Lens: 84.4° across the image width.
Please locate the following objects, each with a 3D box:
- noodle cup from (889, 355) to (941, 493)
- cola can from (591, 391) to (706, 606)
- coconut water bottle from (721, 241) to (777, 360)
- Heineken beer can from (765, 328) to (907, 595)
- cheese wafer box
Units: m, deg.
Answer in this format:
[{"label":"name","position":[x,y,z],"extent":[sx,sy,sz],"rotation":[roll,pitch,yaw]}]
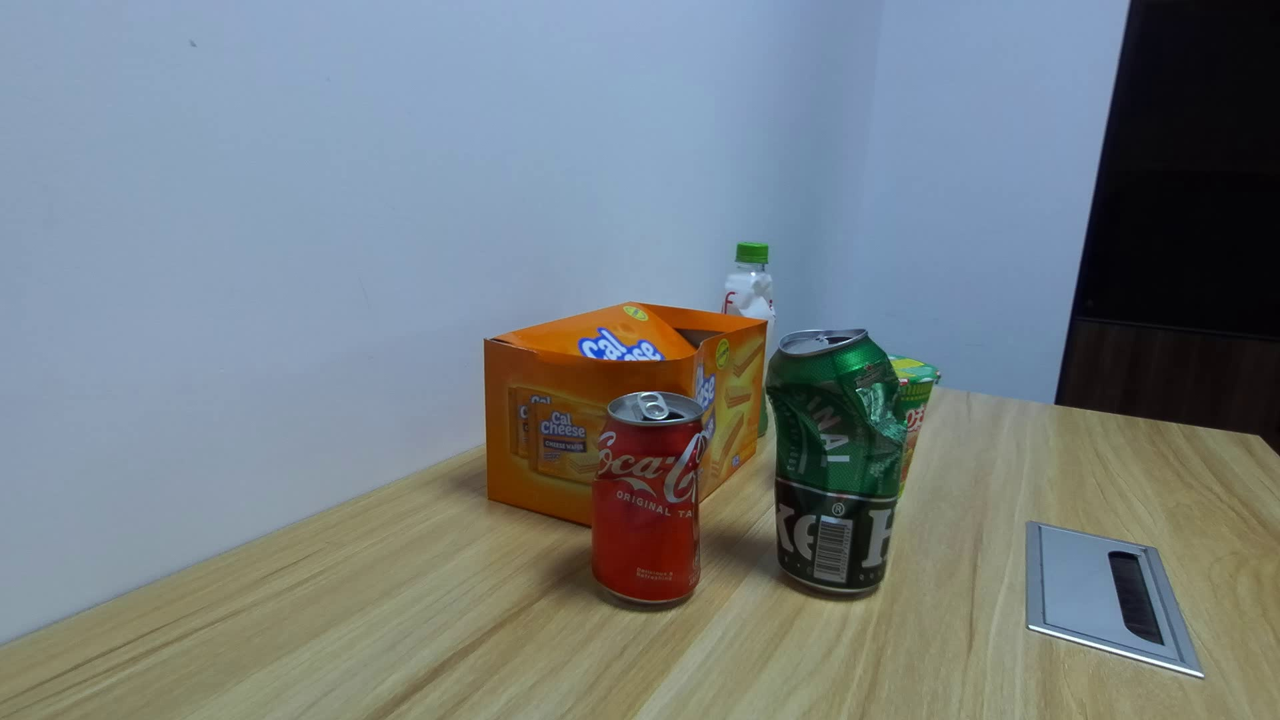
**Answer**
[{"label":"noodle cup","position":[0.182,0.054,0.571],"extent":[0.097,0.110,0.097],"rotation":[4,14,-1]},{"label":"cola can","position":[0.006,0.079,0.415],"extent":[0.066,0.117,0.066],"rotation":[7,15,18]},{"label":"coconut water bottle","position":[0.105,-0.020,0.690],"extent":[0.069,0.186,0.069],"rotation":[0,10,0]},{"label":"Heineken beer can","position":[0.121,0.061,0.434],"extent":[0.079,0.159,0.067],"rotation":[-4,9,4]},{"label":"cheese wafer box","position":[0.000,0.037,0.580],"extent":[0.151,0.132,0.231],"rotation":[11,15,27]}]
